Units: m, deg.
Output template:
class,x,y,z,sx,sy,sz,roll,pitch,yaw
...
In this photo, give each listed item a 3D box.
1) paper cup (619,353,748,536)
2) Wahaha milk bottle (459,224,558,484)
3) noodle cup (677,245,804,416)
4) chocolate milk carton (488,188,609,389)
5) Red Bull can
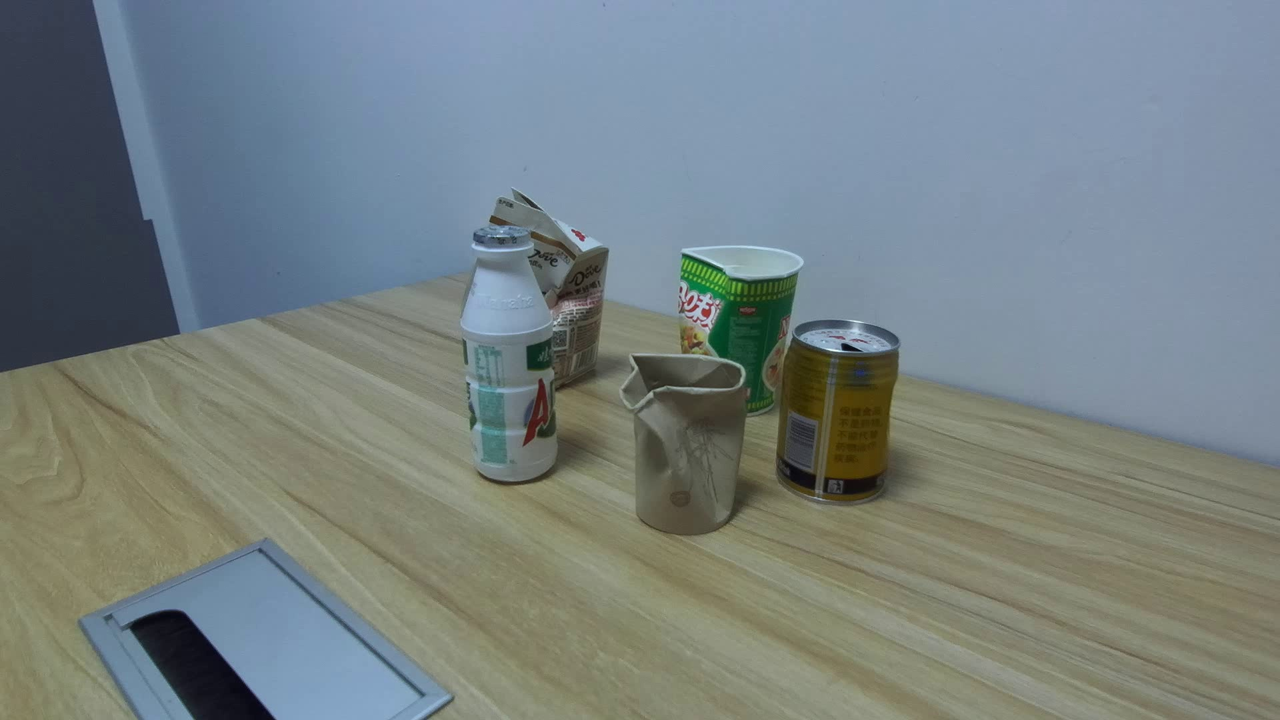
class,x,y,z,sx,sy,sz,roll,pitch,yaw
paper cup,0.023,0.047,0.378,0.066,0.083,0.058,3,25,11
Wahaha milk bottle,-0.077,-0.002,0.417,0.053,0.147,0.053,0,18,0
noodle cup,0.072,-0.020,0.513,0.087,0.109,0.093,0,22,1
chocolate milk carton,-0.078,-0.051,0.547,0.089,0.155,0.077,22,30,18
Red Bull can,0.115,0.028,0.414,0.068,0.093,0.068,0,21,0
